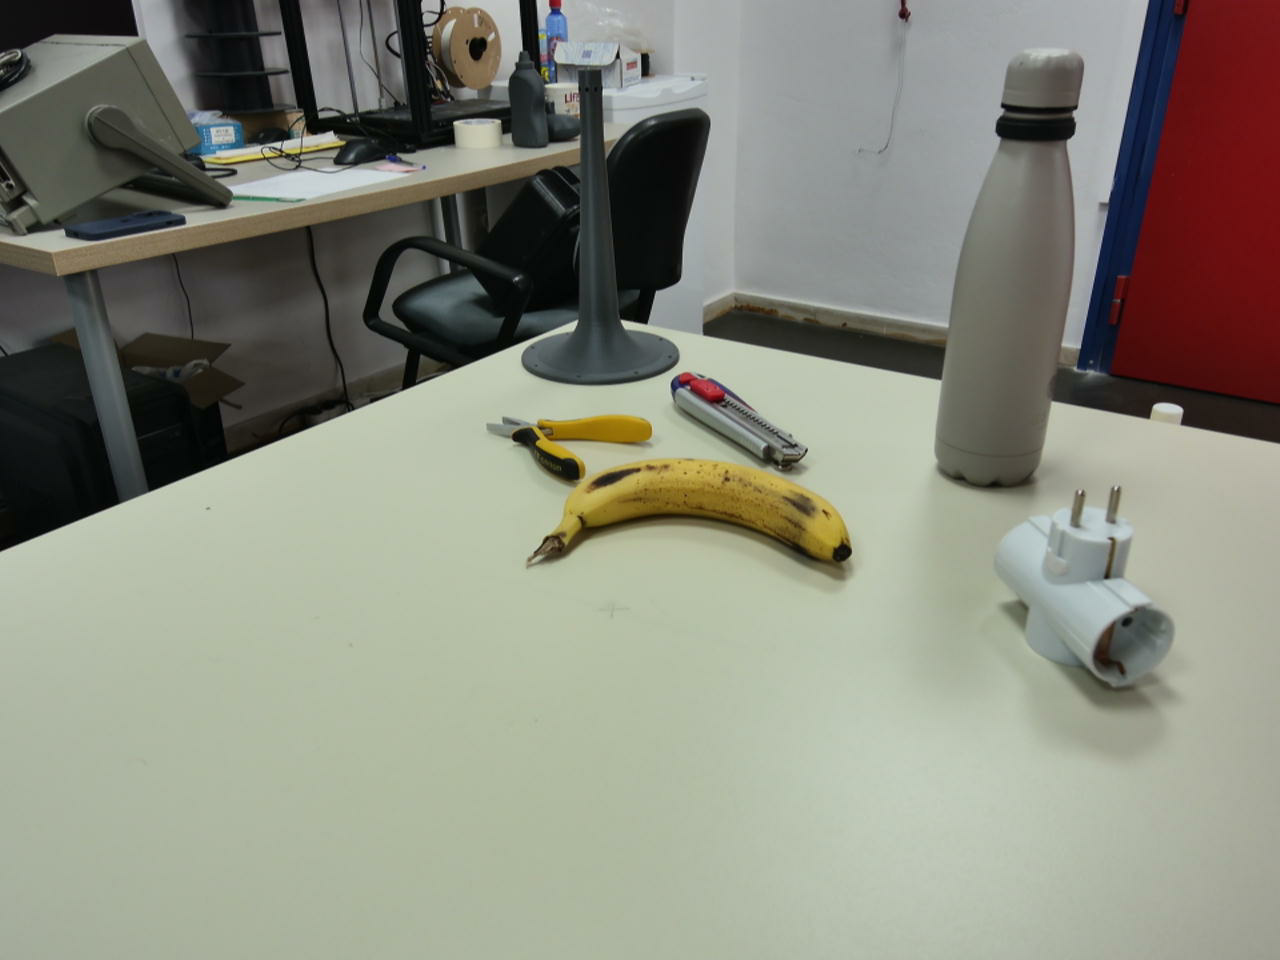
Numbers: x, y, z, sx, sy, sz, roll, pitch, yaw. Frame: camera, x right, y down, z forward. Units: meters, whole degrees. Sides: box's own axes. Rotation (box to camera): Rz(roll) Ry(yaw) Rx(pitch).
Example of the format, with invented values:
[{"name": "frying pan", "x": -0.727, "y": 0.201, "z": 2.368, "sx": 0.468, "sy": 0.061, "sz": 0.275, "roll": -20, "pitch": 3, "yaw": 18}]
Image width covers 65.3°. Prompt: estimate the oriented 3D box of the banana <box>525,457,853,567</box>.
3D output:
[{"name": "banana", "x": 0.035, "y": 0.018, "z": 0.621, "sx": 0.186, "sy": 0.038, "sz": 0.097, "roll": 3, "pitch": 25, "yaw": 8}]
